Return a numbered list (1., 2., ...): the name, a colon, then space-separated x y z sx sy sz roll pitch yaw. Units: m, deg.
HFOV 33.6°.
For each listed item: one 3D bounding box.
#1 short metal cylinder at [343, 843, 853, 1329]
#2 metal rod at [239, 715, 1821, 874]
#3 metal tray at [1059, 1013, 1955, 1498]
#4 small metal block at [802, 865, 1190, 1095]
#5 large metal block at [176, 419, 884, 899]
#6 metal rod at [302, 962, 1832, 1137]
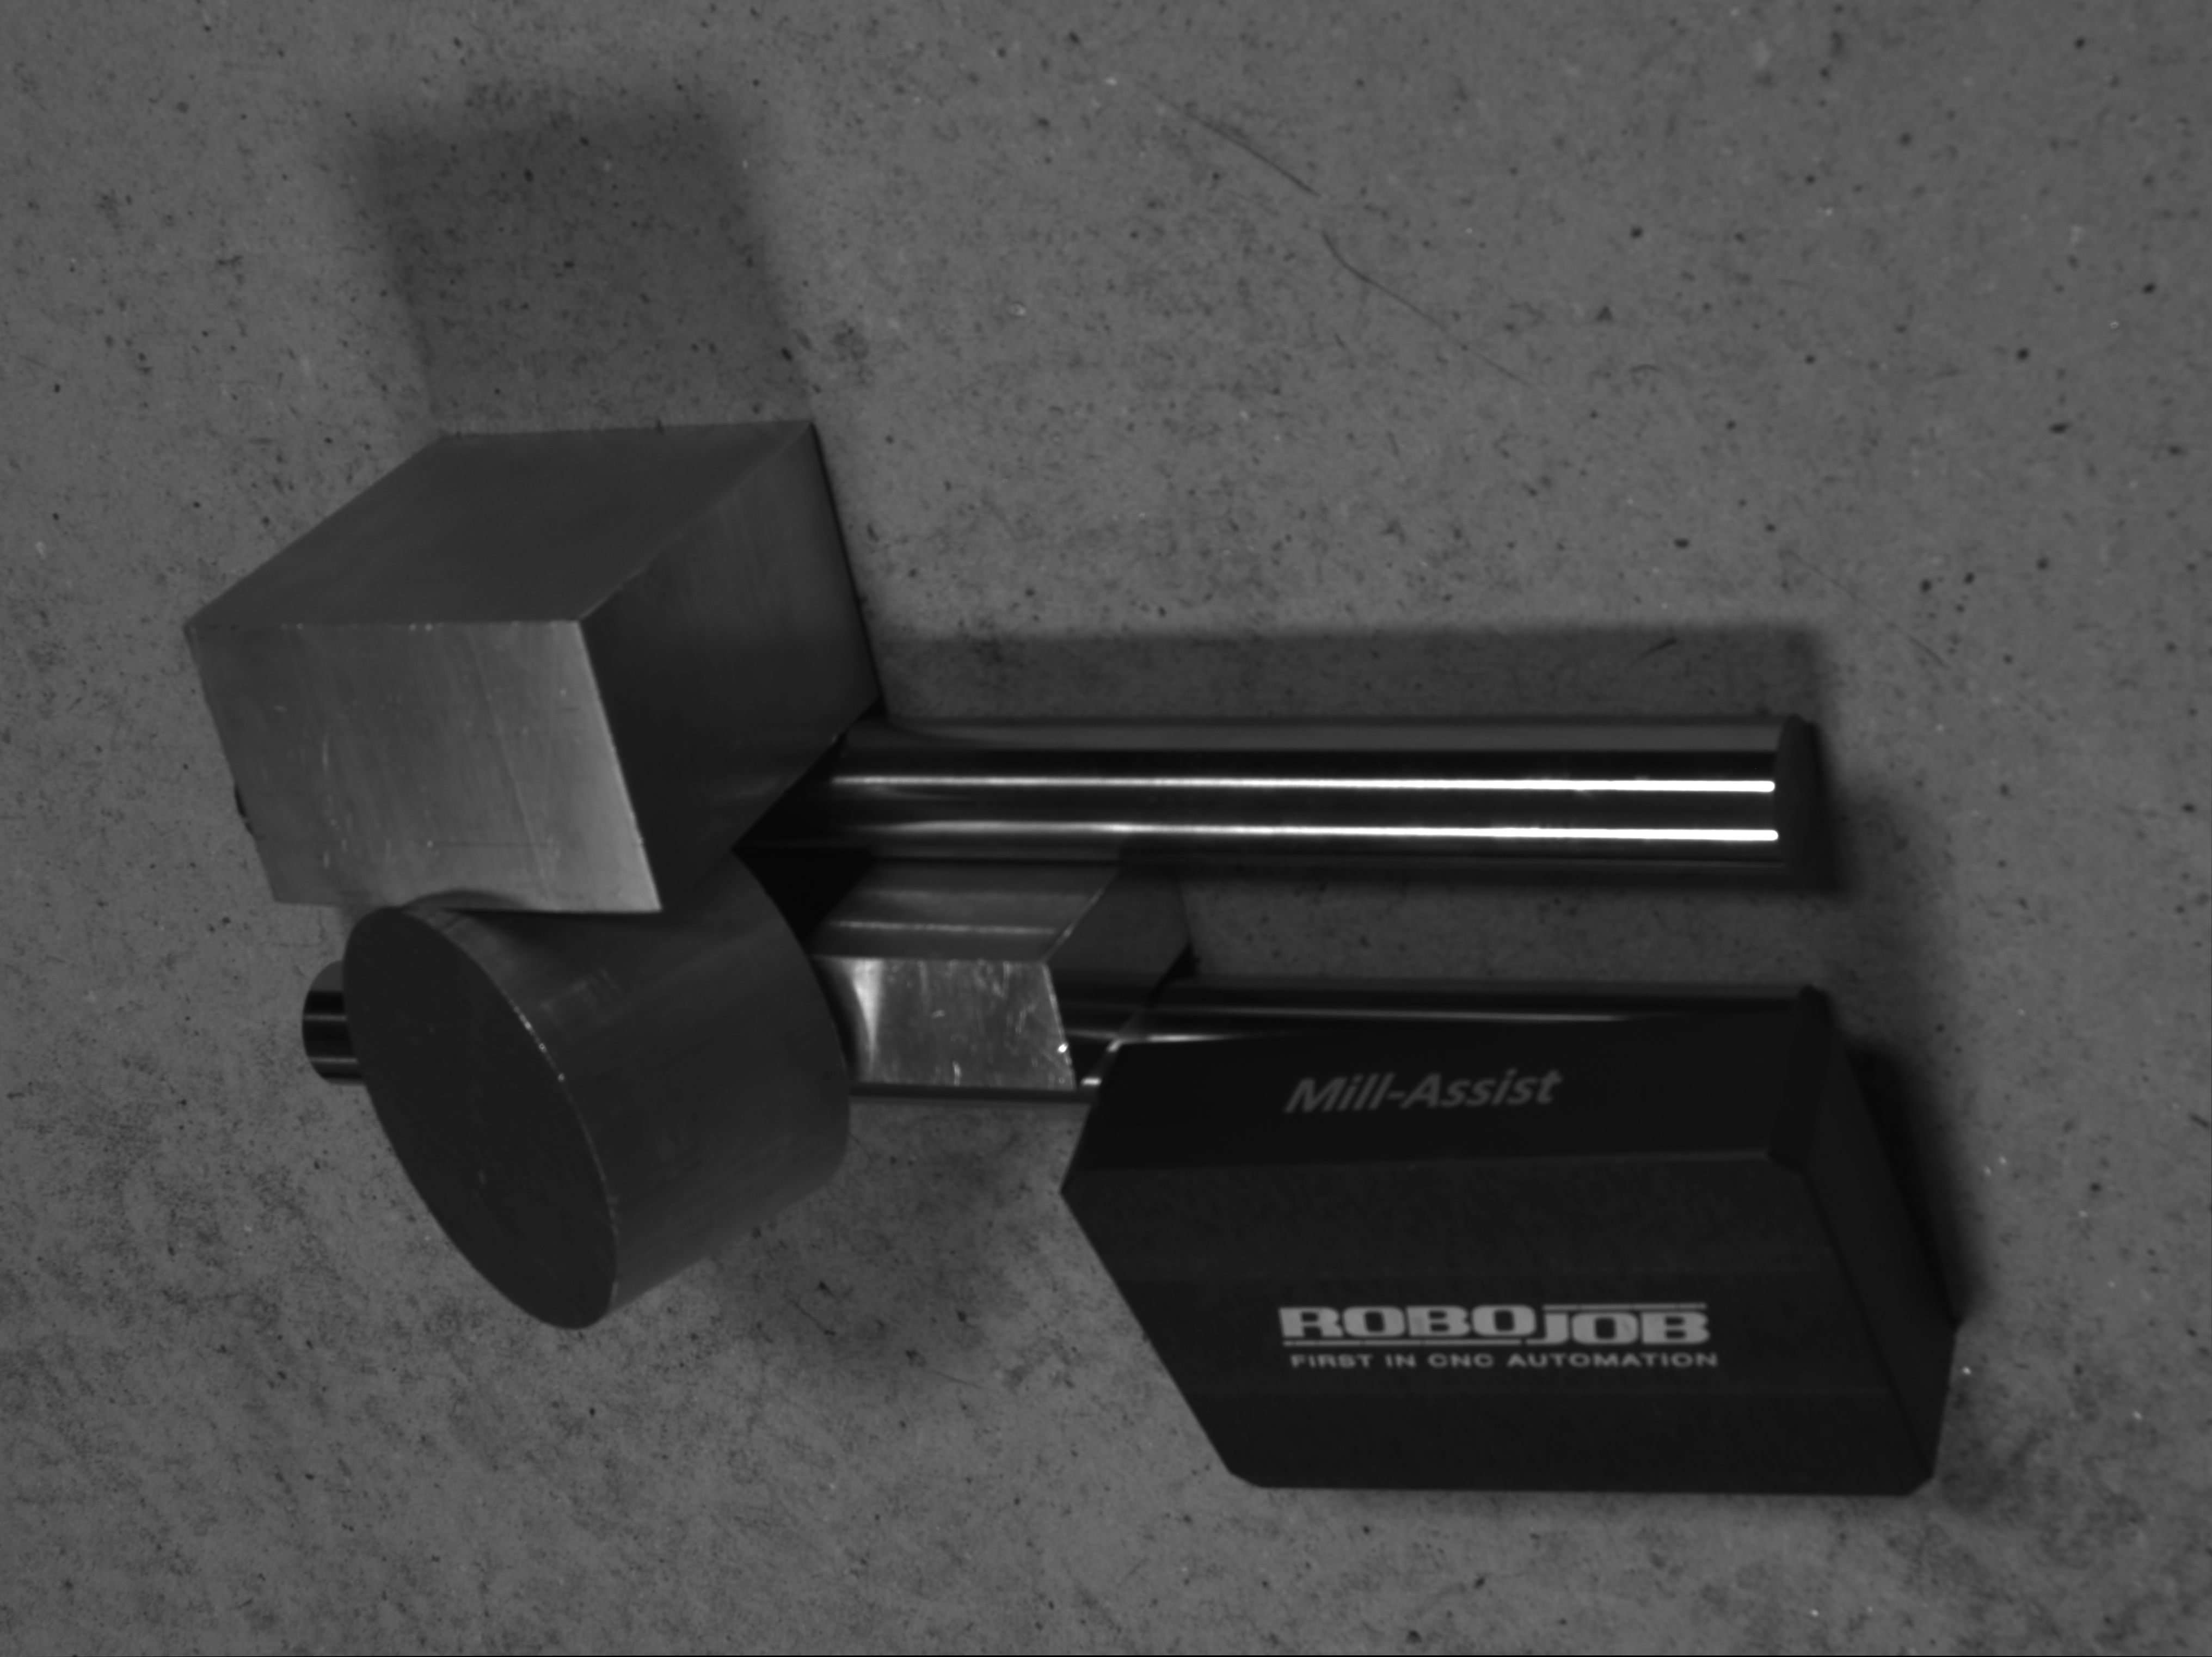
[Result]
1. short metal cylinder: -0.089 0.040 0.639 0.080 0.050 0.080 32 137 36
2. metal rod: -0.026 -0.007 0.640 0.299 0.025 0.025 1 119 26
3. metal tray: 0.068 0.075 0.621 0.130 0.030 0.090 -5 134 27
4. small metal block: -0.020 0.021 0.638 0.050 0.050 0.025 1 118 26
5. large metal block: -0.096 -0.030 0.627 0.080 0.080 0.050 1 119 26
6. metal rod: -0.019 0.038 0.664 0.299 0.025 0.025 0 118 27
